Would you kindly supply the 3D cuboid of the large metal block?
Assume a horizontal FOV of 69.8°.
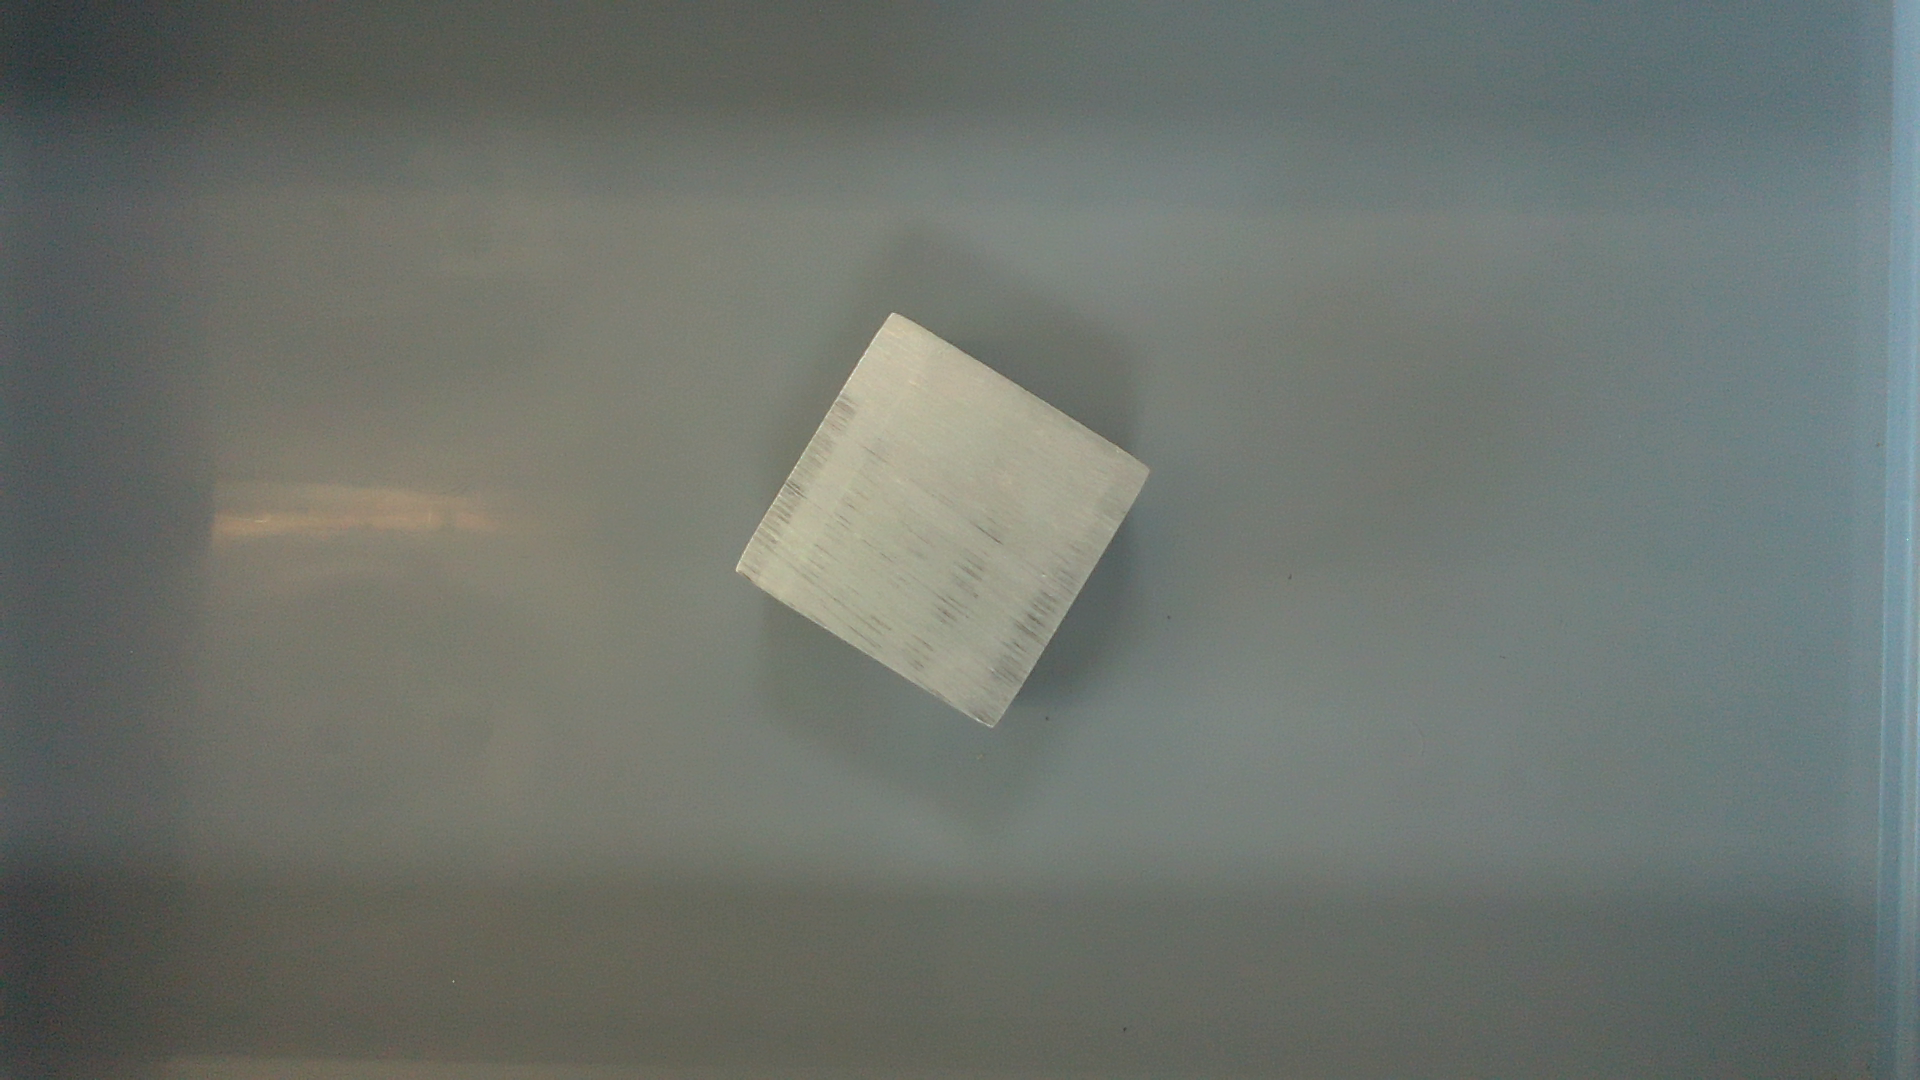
[{"bbox_3d":[-0.005,-0.005,0.380,0.080,0.050,0.080,32,89,-1],"label":"large metal block"}]
